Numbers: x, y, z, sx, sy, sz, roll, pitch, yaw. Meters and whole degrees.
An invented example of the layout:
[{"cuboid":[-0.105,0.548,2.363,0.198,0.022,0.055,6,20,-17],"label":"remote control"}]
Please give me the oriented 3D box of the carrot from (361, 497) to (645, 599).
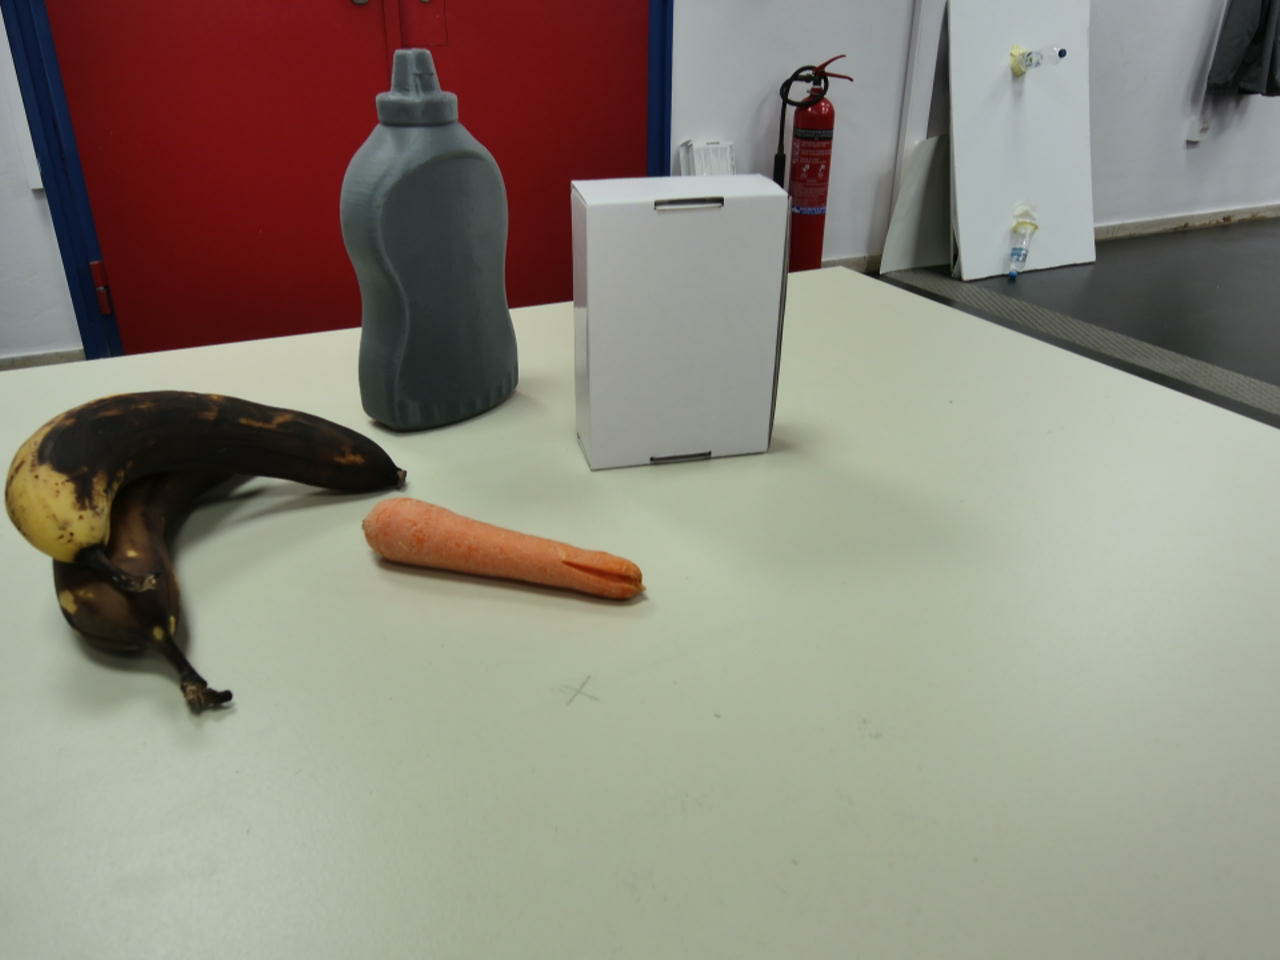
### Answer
[{"cuboid":[-0.063,0.030,0.445,0.136,0.032,0.030,8,25,17],"label":"carrot"}]
